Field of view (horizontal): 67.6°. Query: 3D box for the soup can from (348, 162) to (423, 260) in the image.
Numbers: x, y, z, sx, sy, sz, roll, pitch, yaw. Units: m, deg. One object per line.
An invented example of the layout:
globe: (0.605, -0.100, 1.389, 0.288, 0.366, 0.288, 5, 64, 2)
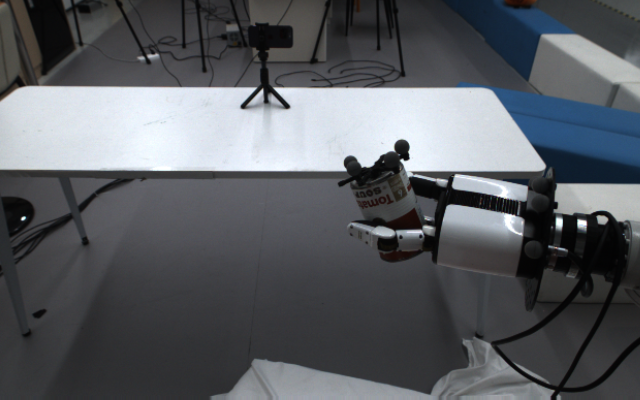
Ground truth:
soup can: (0.087, 0.012, 0.575, 0.067, 0.101, 0.067, -23, 16, 7)
